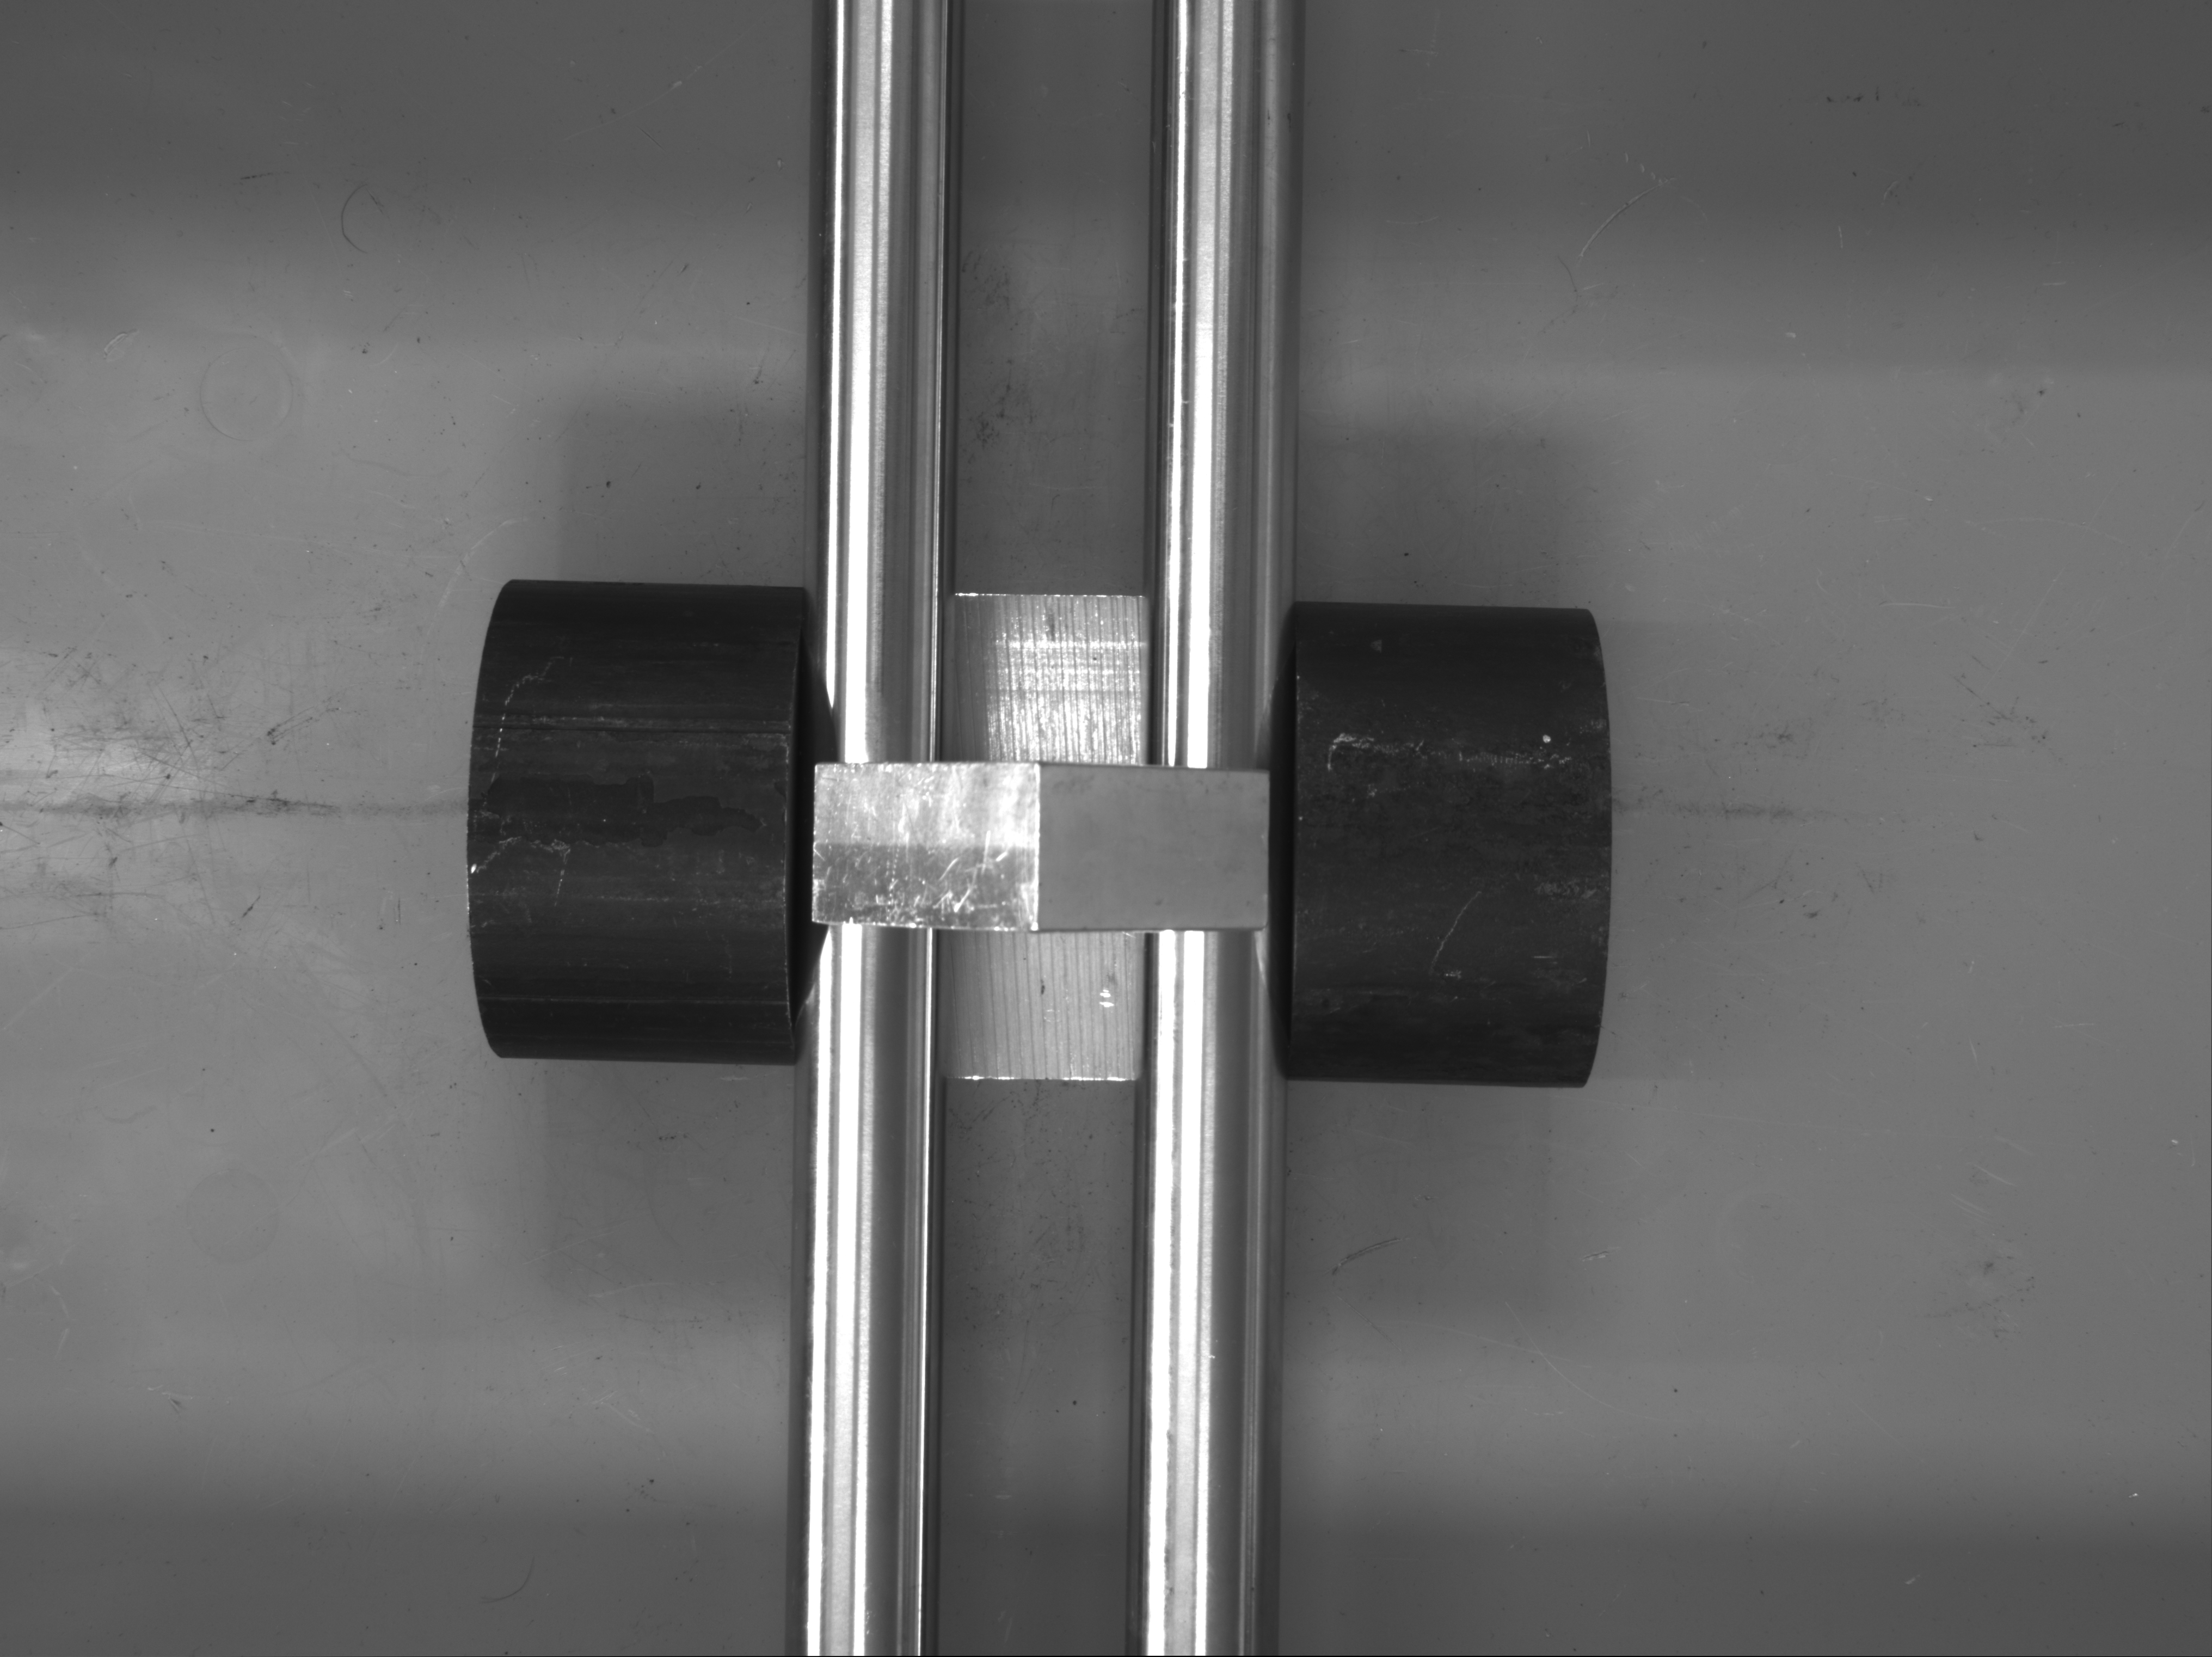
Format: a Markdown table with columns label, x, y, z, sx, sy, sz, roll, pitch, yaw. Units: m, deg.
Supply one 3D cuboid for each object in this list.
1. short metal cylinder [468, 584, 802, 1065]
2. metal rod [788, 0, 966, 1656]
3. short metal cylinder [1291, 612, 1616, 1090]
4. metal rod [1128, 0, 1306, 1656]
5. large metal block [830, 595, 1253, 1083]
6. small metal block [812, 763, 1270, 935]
| label | x | y | z | sx | sy | sz | roll | pitch | yaw |
| --- | --- | --- | --- | --- | --- | --- | --- | --- | --- |
| short metal cylinder | -0.075 | -0.001 | 0.617 | 0.050 | 0.080 | 0.080 | 1 | 90 | 0 |
| metal rod | -0.037 | 0.005 | 0.595 | 0.025 | 0.025 | 0.300 | 1 | 90 | 0 |
| short metal cylinder | 0.056 | 0.003 | 0.617 | 0.050 | 0.080 | 0.080 | 1 | 90 | 1 |
| metal rod | 0.018 | 0.004 | 0.595 | 0.025 | 0.025 | 0.300 | 1 | 90 | 0 |
| large metal block | -0.010 | 0.002 | 0.632 | 0.080 | 0.050 | 0.080 | 1 | 90 | 0 |
| small metal block | -0.010 | 0.003 | 0.569 | 0.050 | 0.050 | 0.025 | 1 | 90 | 45 |
